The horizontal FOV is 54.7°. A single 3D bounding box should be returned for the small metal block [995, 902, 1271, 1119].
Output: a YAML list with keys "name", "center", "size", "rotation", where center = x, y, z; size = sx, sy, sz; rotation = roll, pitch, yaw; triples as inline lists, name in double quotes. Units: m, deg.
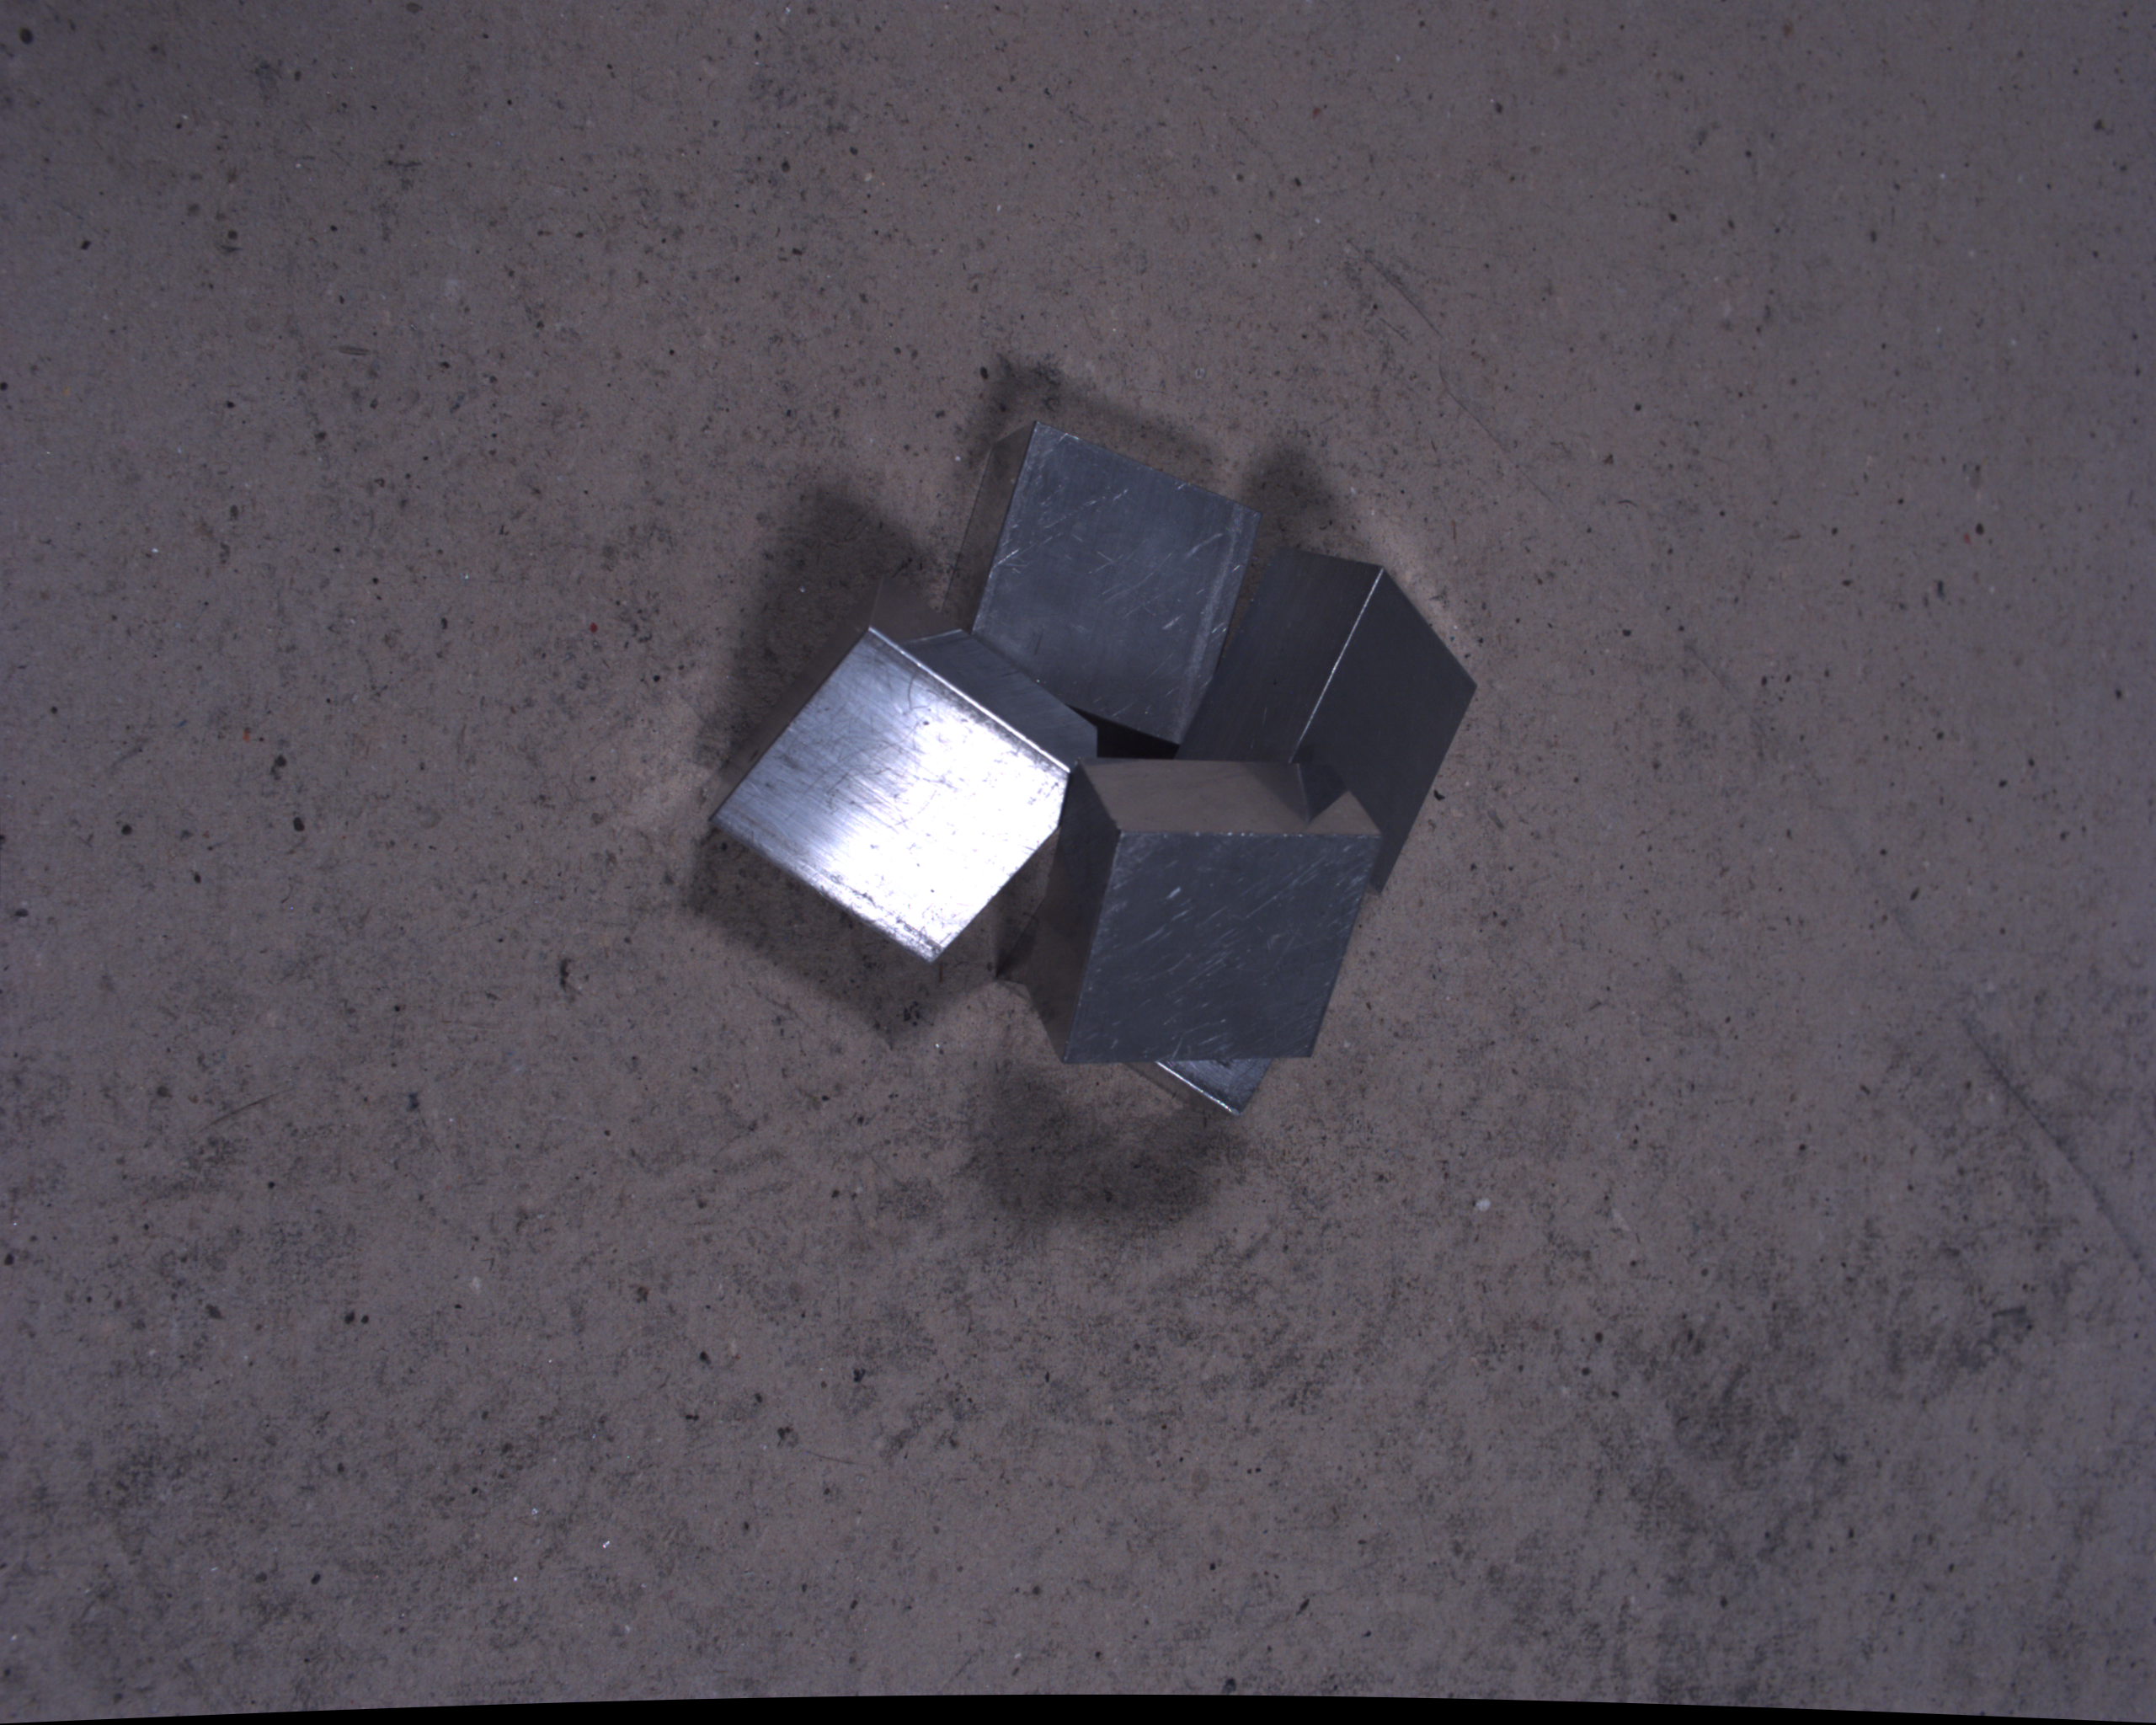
- name: "small metal block"
  center: [0.020, 0.016, 0.419]
  size: [0.050, 0.025, 0.050]
  rotation: [34, 79, -17]

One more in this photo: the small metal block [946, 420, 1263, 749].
- name: "small metal block"
  center: [0.003, -0.053, 0.413]
  size: [0.050, 0.025, 0.050]
  rotation: [18, 84, -20]

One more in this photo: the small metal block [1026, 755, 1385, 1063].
- name: "small metal block"
  center: [0.022, 0.009, 0.381]
  size: [0.050, 0.025, 0.050]
  rotation: [0, 123, -20]

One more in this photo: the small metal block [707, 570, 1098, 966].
- name: "small metal block"
  center: [-0.032, -0.017, 0.387]
  size: [0.050, 0.025, 0.050]
  rotation: [35, 114, -18]

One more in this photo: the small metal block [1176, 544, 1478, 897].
- name: "small metal block"
  center: [0.050, -0.028, 0.418]
  size: [0.050, 0.025, 0.050]
  rotation: [38, 75, -51]
